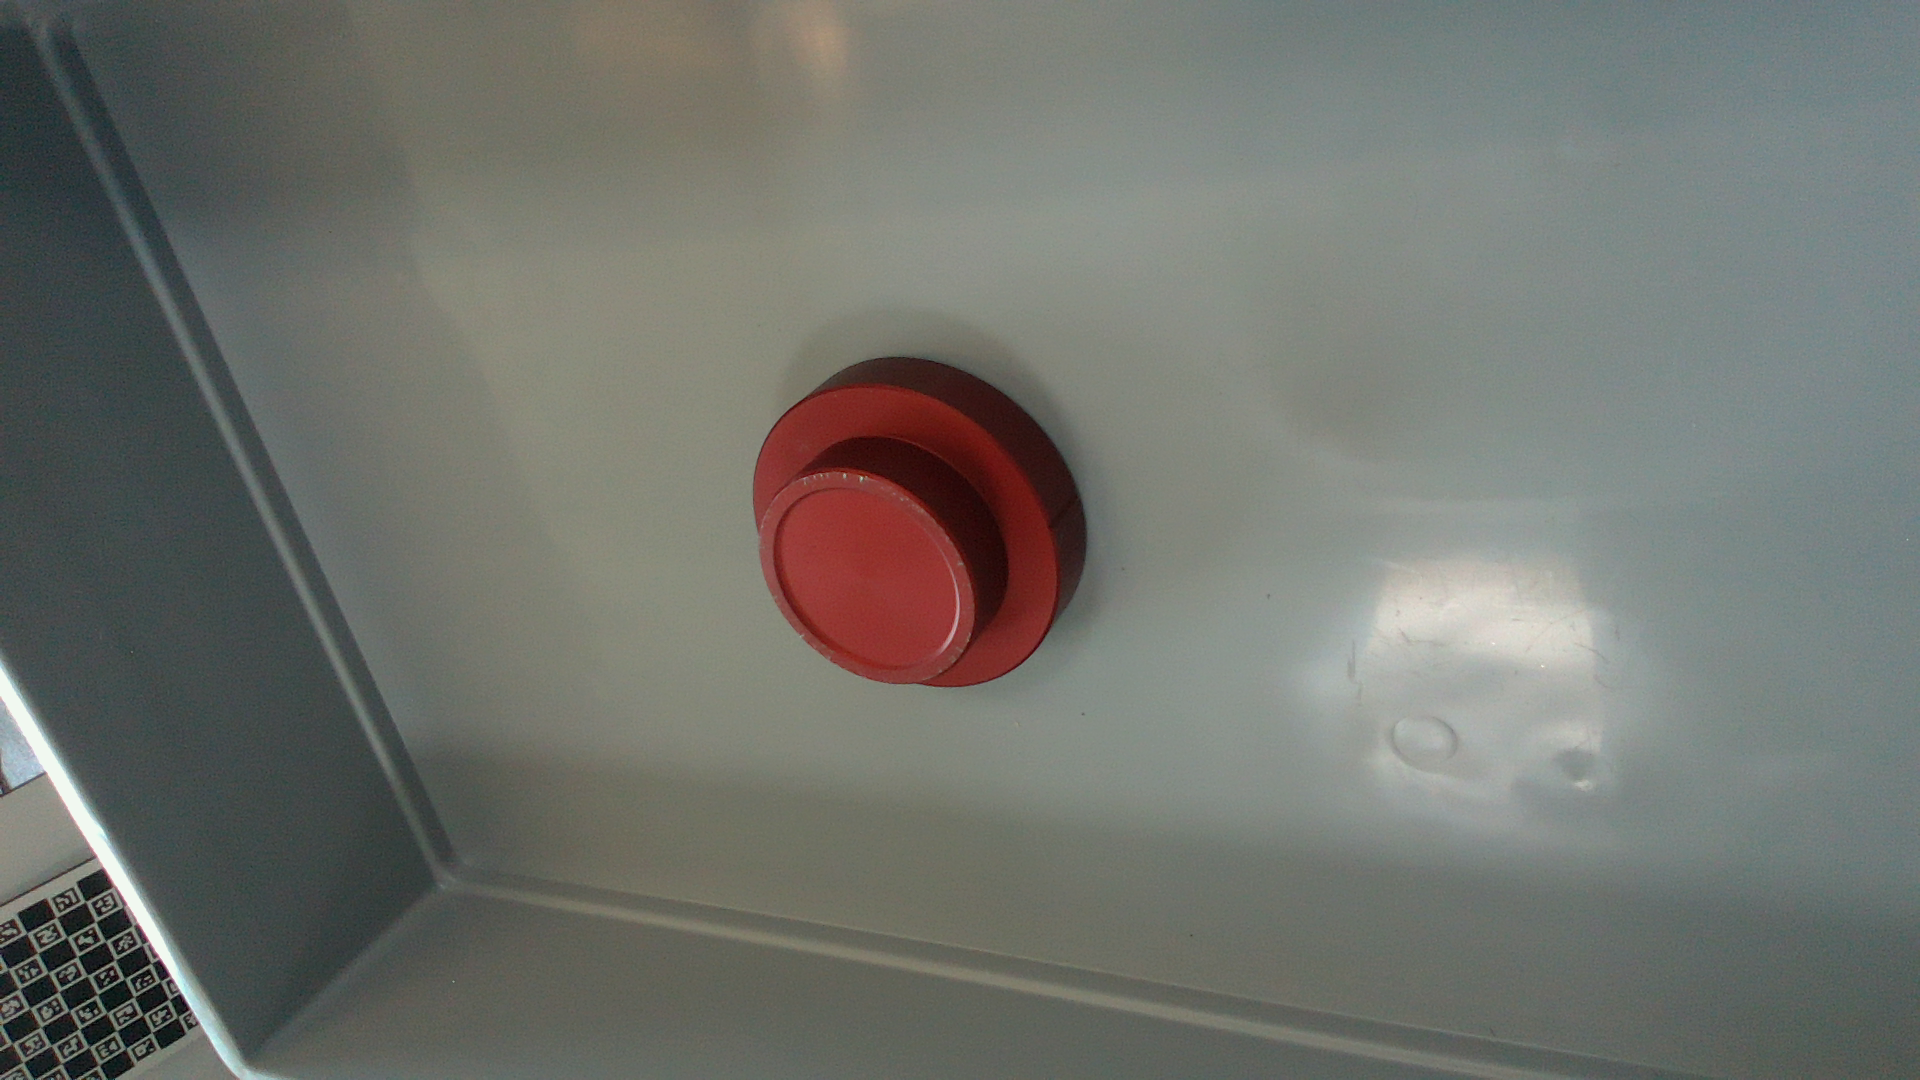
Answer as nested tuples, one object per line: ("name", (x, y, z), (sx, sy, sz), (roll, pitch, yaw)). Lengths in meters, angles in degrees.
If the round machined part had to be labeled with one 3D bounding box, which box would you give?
("round machined part", (-0.017, 0.001, 0.389), (0.098, 0.042, 0.098), (13, 124, 21))
